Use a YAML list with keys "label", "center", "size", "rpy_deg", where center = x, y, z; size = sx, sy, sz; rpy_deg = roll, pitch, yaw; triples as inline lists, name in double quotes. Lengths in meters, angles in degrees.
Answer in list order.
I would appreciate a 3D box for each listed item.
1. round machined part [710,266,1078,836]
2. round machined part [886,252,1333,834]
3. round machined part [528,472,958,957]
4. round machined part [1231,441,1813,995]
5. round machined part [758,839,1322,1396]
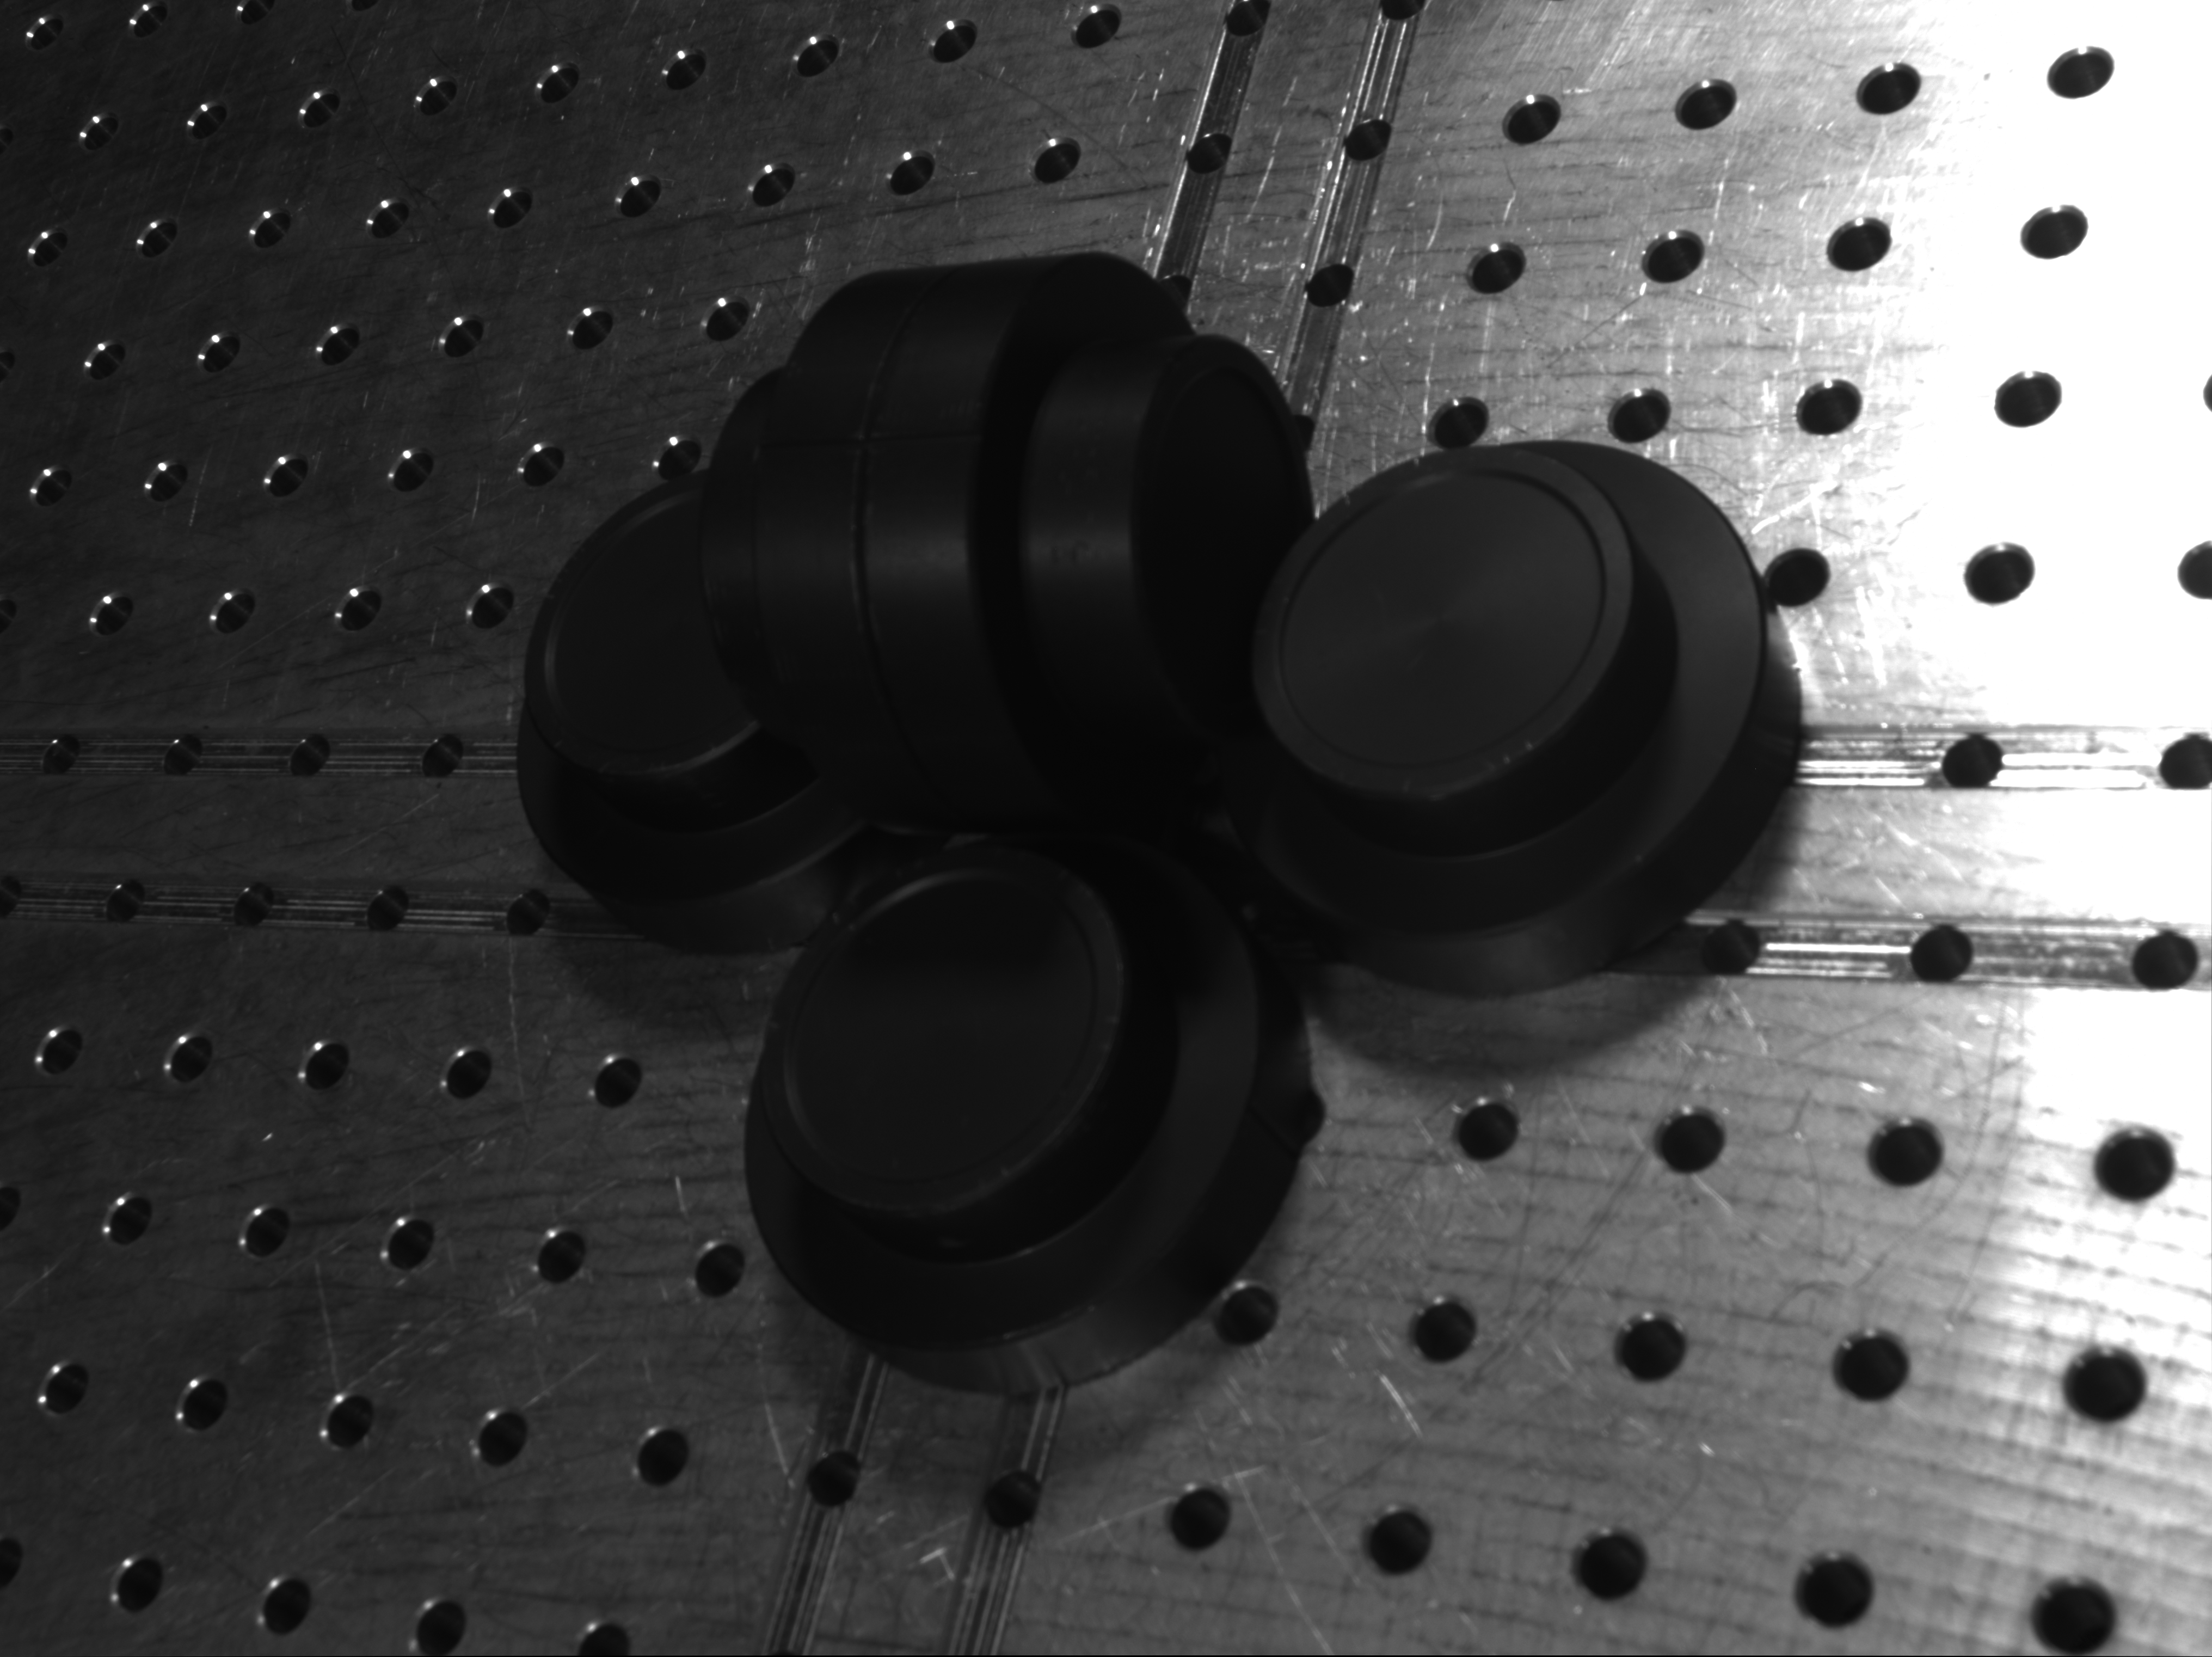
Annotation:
- label: "round machined part"
  center: [-0.033, -0.048, 0.639]
  size: [0.042, 0.098, 0.098]
  rpy_deg: [1, 62, 29]
- label: "round machined part"
  center: [0.006, -0.048, 0.620]
  size: [0.042, 0.098, 0.098]
  rpy_deg: [-1, 61, 28]
- label: "round machined part"
  center: [-0.068, -0.029, 0.690]
  size: [0.098, 0.042, 0.098]
  rpy_deg: [-13, 56, 21]
- label: "round machined part"
  center: [0.065, -0.025, 0.616]
  size: [0.098, 0.042, 0.098]
  rpy_deg: [-13, 56, 21]
- label: "round machined part"
  center: [-0.017, 0.043, 0.619]
  size: [0.098, 0.042, 0.098]
  rpy_deg: [-13, 56, 21]
